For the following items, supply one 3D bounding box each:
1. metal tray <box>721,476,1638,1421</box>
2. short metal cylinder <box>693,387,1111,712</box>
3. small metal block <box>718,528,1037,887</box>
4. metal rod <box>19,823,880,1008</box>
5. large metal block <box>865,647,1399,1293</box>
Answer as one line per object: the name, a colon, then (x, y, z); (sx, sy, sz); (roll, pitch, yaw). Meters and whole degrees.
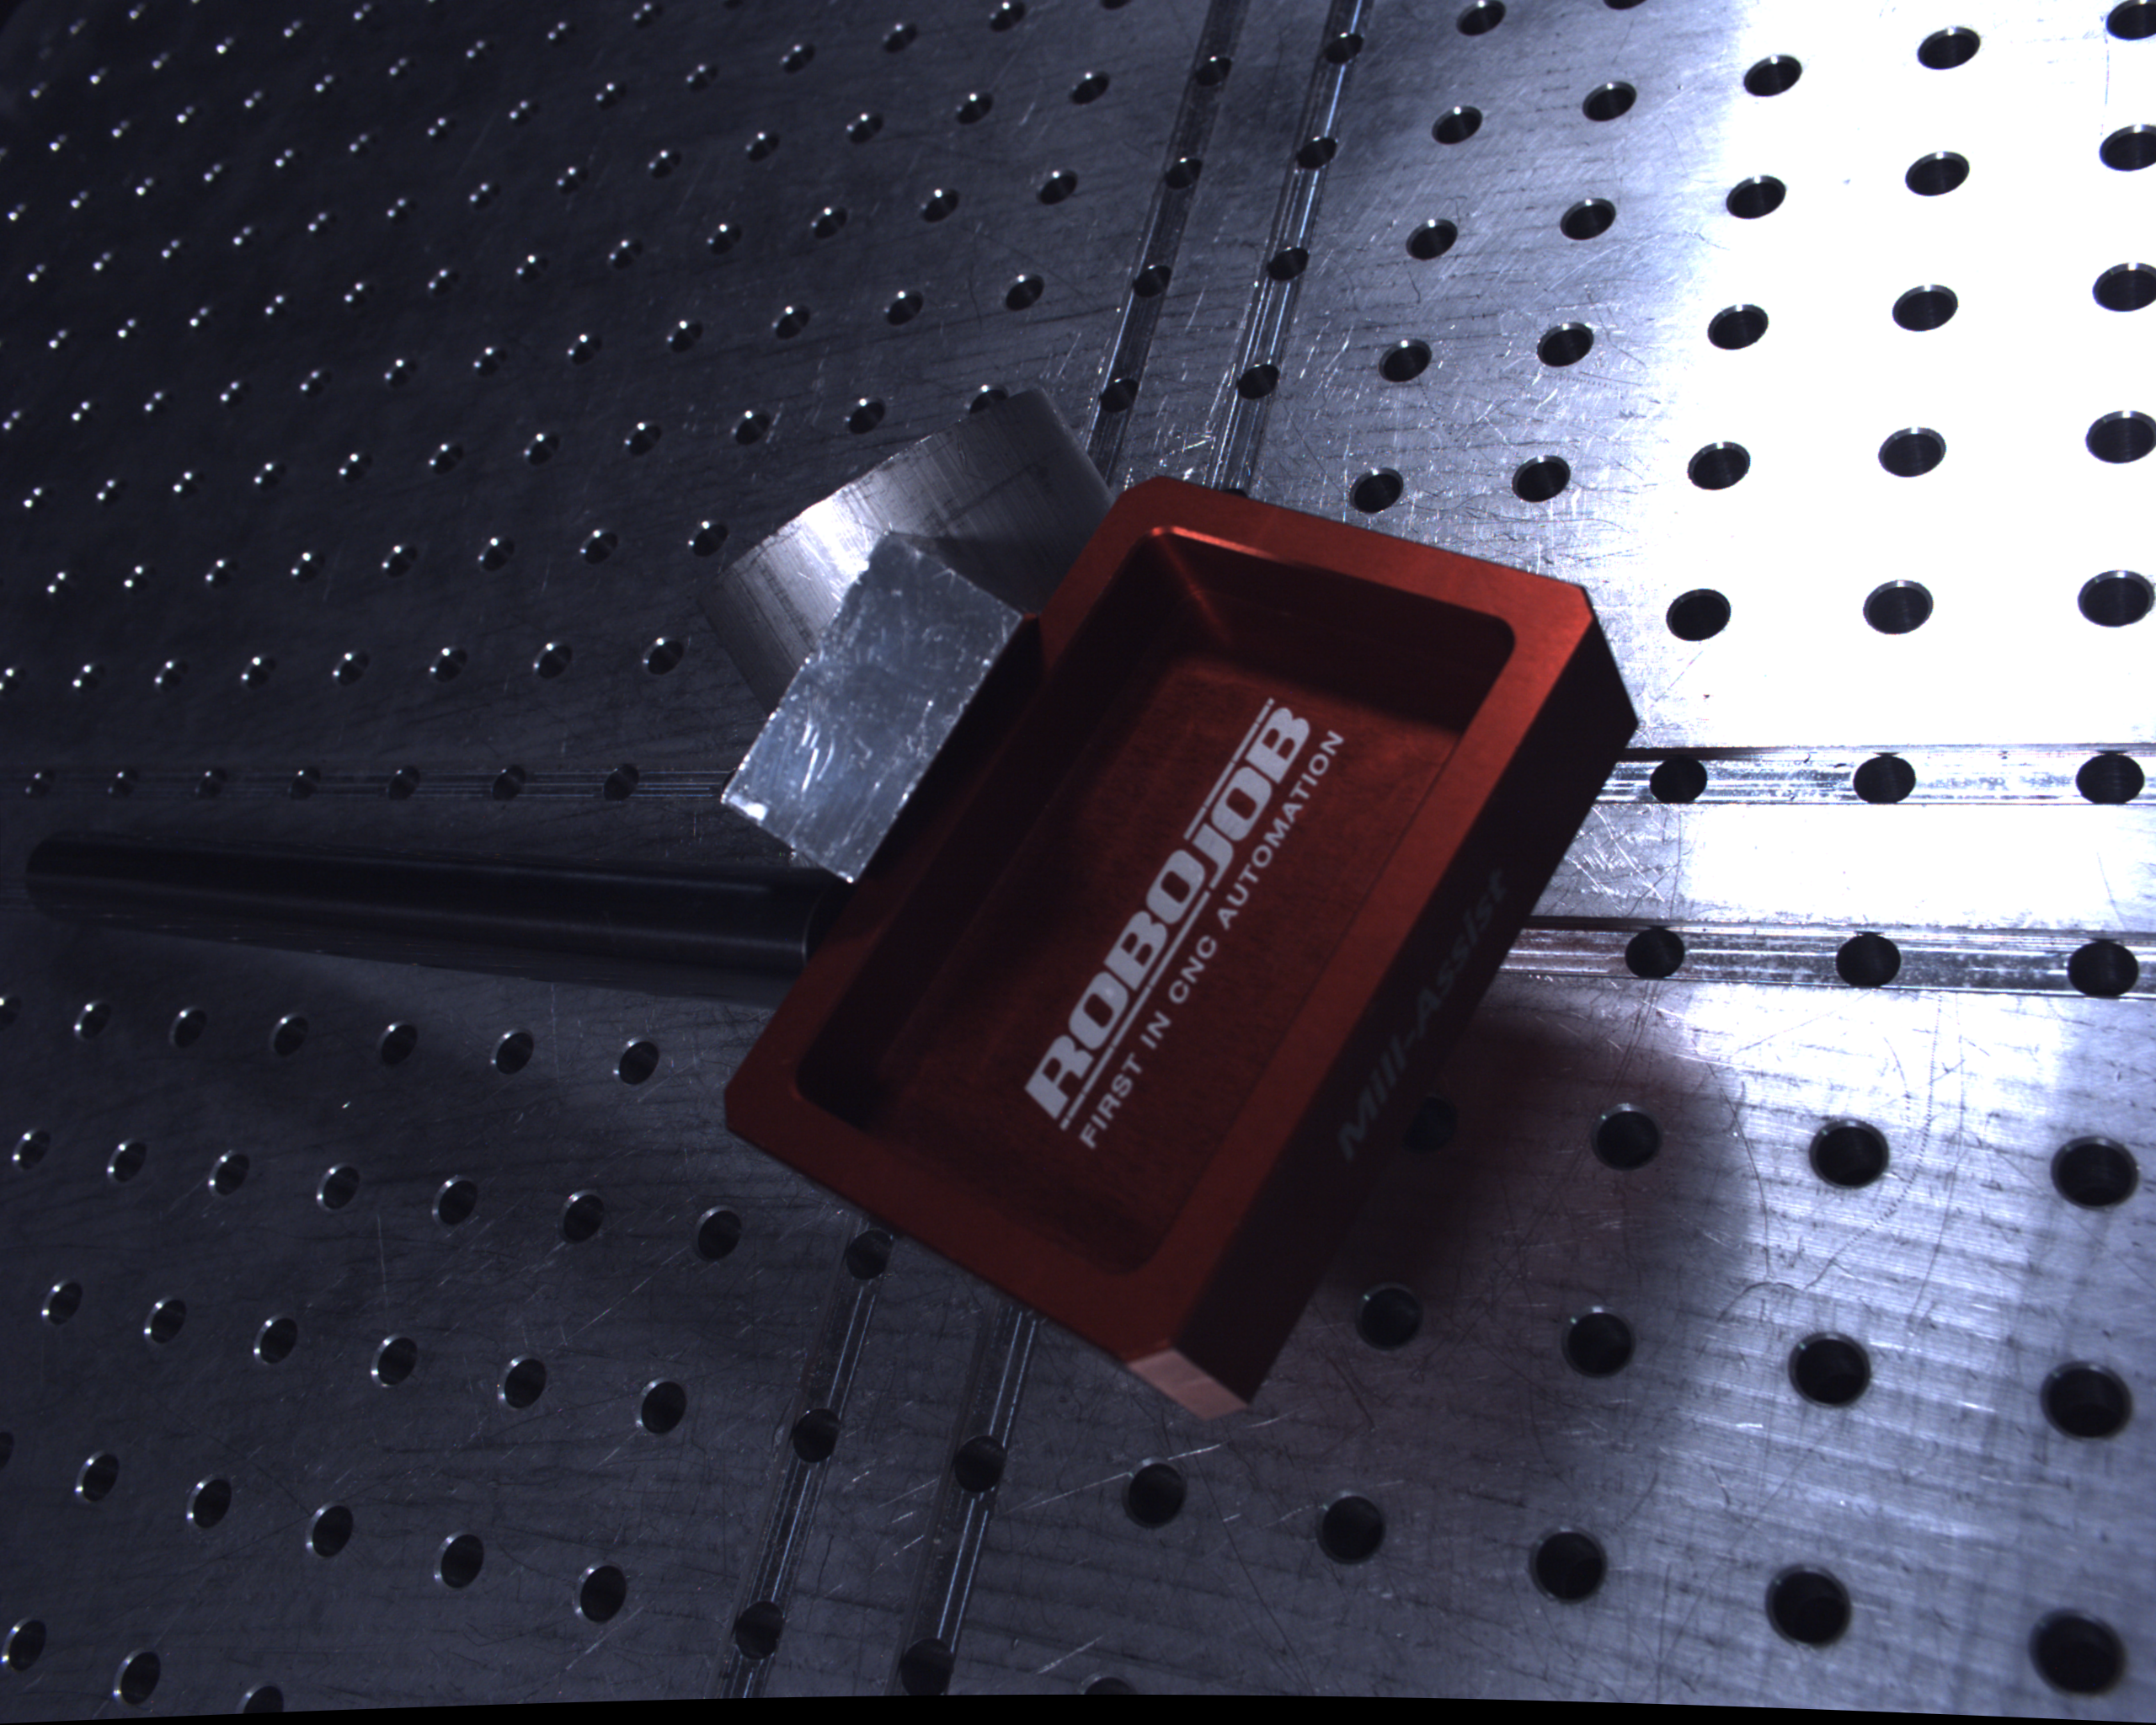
metal tray: (0.015, 0.007, 0.323); (0.090, 0.030, 0.130); (22, 73, 36)
short metal cylinder: (-0.027, -0.050, 0.409); (0.080, 0.080, 0.050); (-30, 95, 8)
small metal block: (-0.031, -0.027, 0.346); (0.025, 0.050, 0.050); (33, 98, -1)
metal rod: (-0.150, 0.007, 0.442); (0.300, 0.025, 0.025); (3, 63, 41)
large metal block: (0.003, 0.019, 0.376); (0.080, 0.050, 0.080); (-31, 52, 8)
